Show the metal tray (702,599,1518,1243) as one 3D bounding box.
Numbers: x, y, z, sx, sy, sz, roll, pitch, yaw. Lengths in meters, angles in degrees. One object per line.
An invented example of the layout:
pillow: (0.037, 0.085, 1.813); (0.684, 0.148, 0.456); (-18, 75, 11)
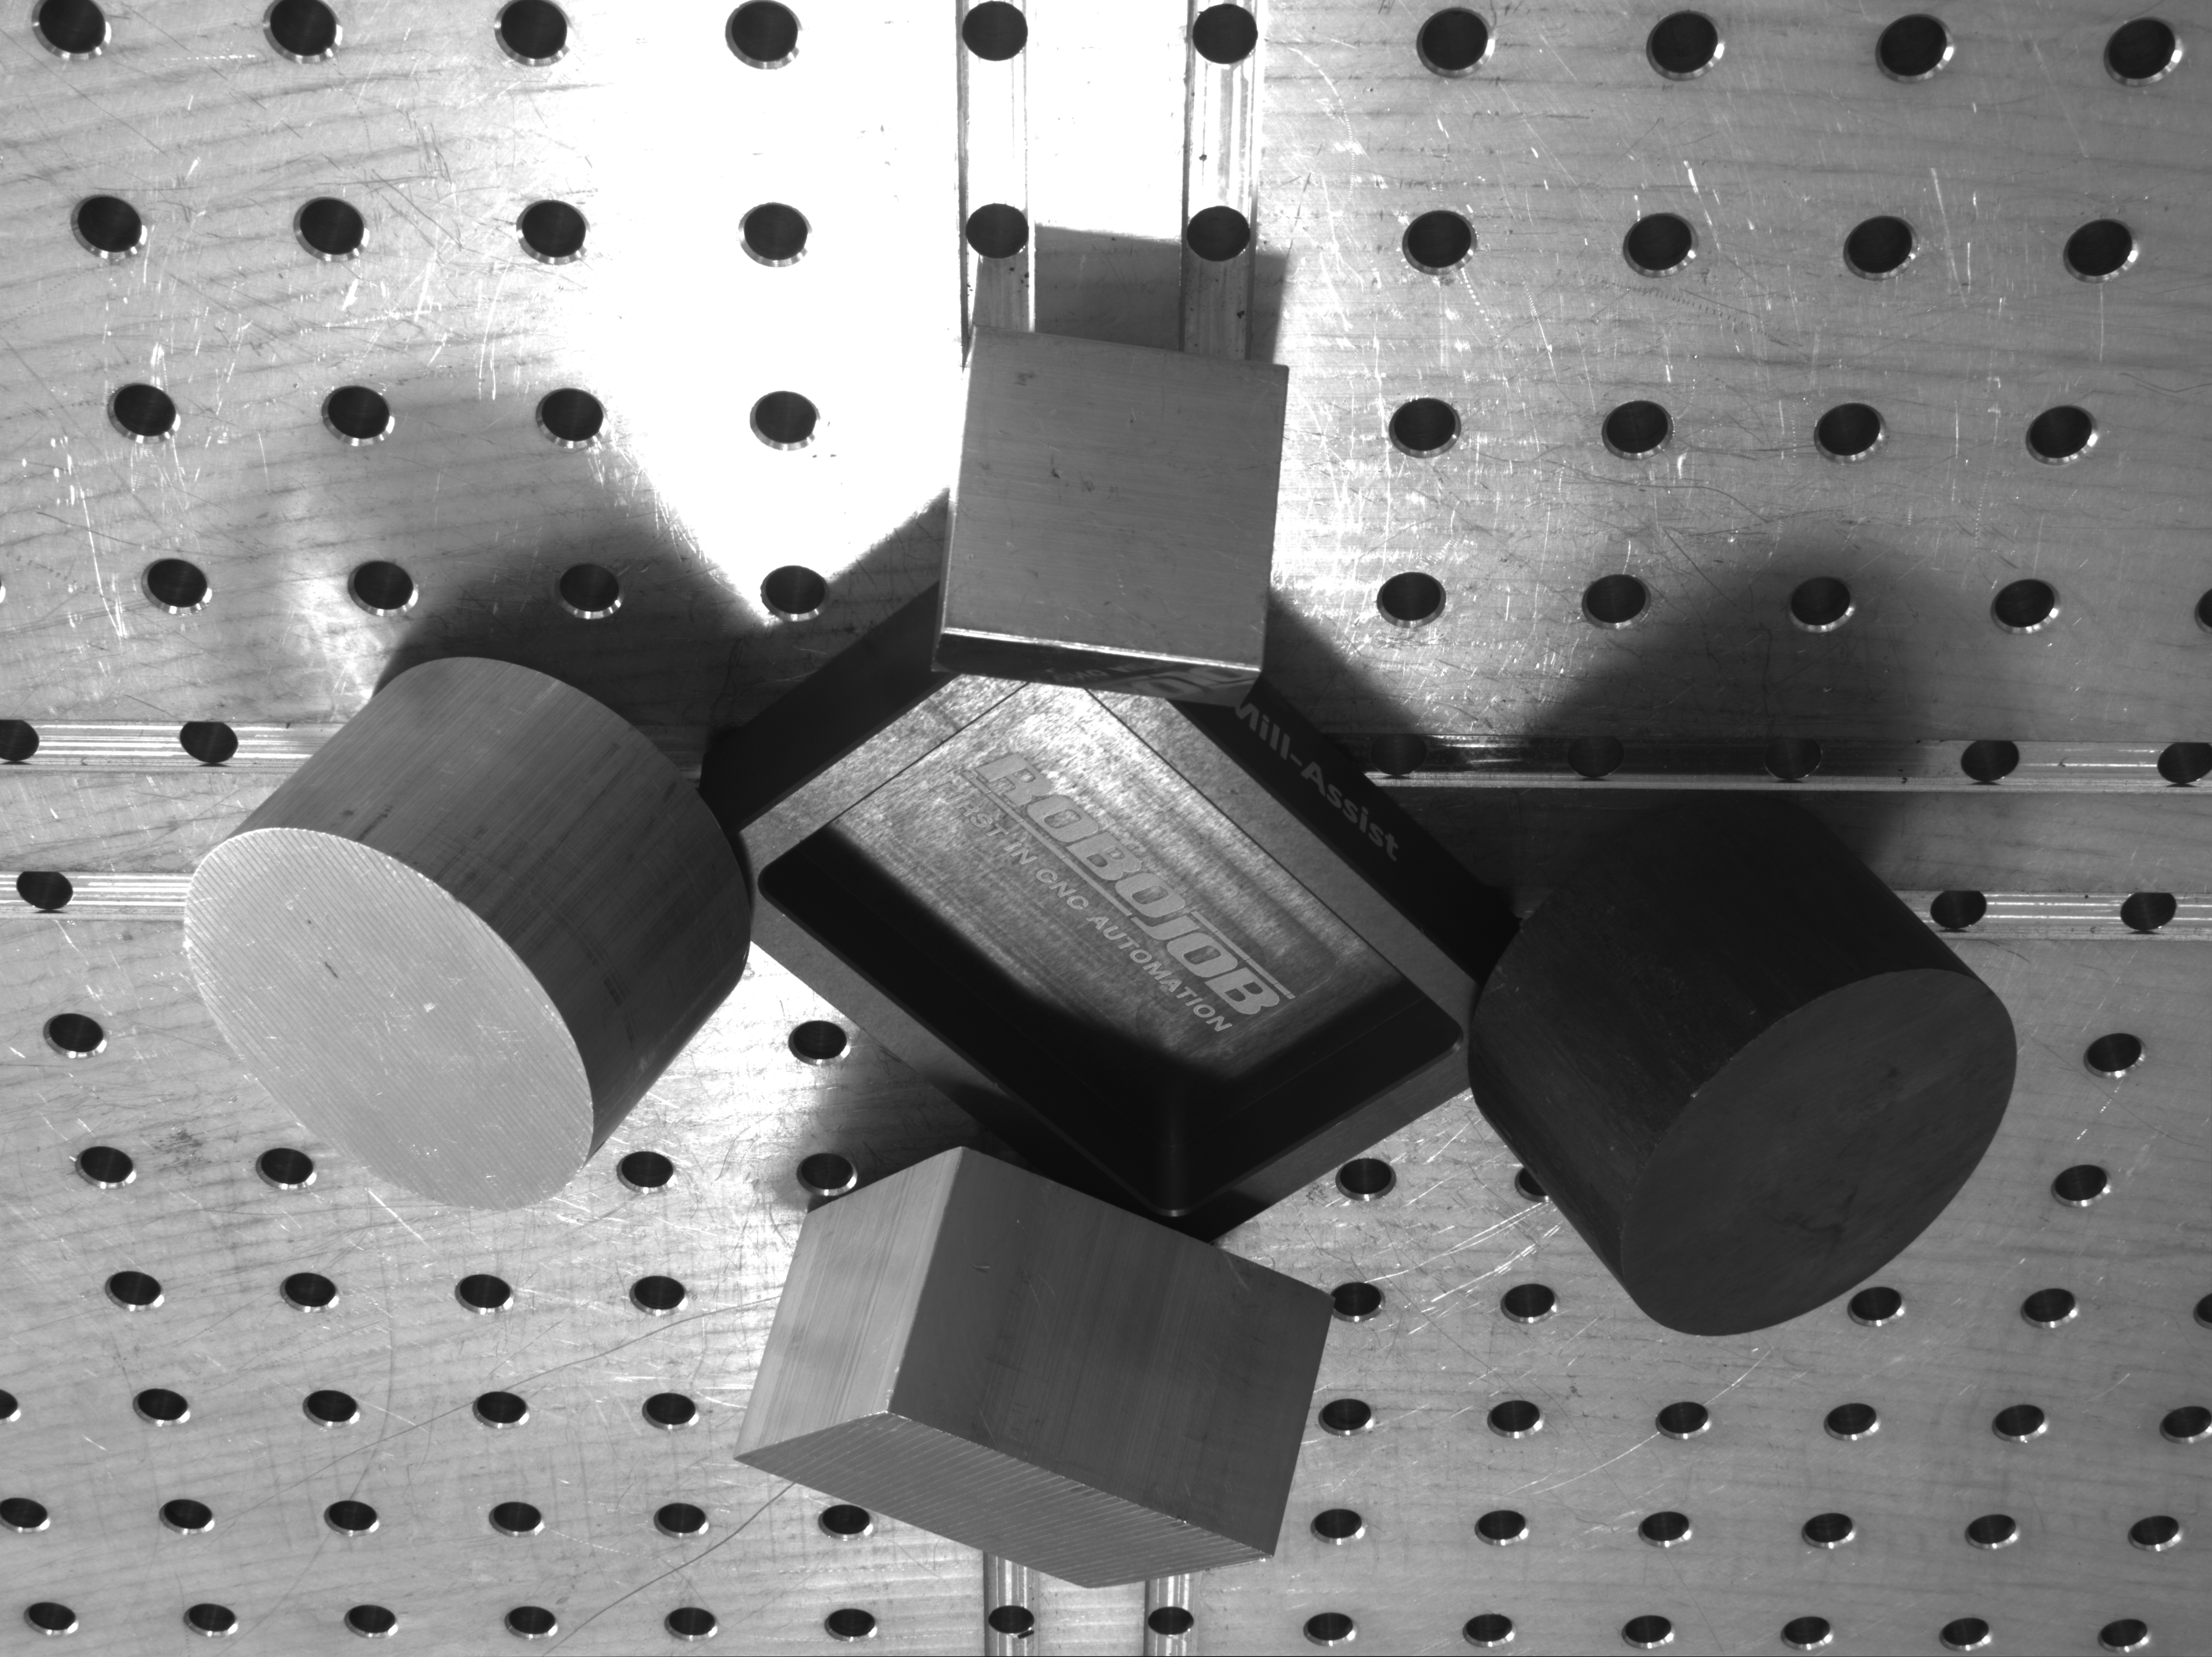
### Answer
metal tray: (0.002, 0.014, 0.650); (0.090, 0.030, 0.130); (-34, 122, 25)

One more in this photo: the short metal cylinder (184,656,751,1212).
short metal cylinder: (-0.107, 0.018, 0.622); (0.080, 0.050, 0.080); (17, 133, 19)

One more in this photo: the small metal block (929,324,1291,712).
small metal block: (0.000, -0.049, 0.582); (0.050, 0.050, 0.025); (7, 167, -6)

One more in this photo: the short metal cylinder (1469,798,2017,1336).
short metal cylinder: (0.111, 0.042, 0.642); (0.080, 0.050, 0.080); (-18, 133, -20)

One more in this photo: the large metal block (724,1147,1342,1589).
large metal block: (-0.015, 0.104, 0.691); (0.080, 0.050, 0.080); (24, 156, -19)
